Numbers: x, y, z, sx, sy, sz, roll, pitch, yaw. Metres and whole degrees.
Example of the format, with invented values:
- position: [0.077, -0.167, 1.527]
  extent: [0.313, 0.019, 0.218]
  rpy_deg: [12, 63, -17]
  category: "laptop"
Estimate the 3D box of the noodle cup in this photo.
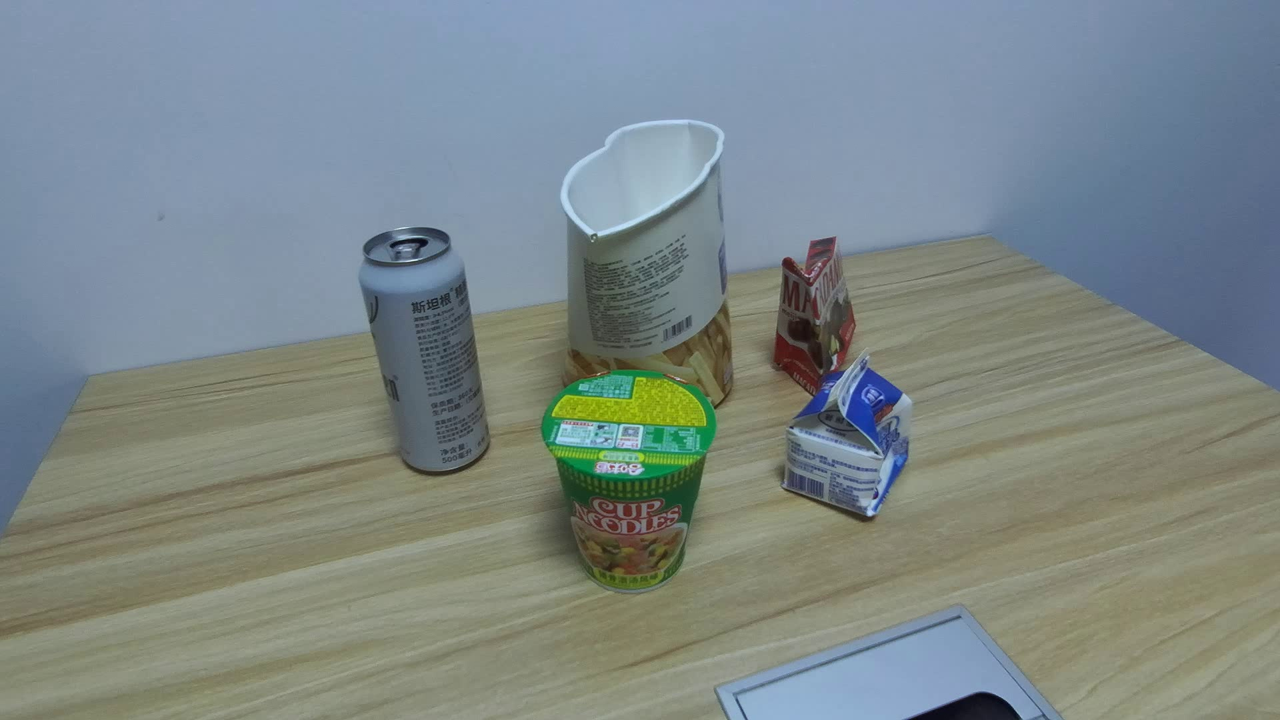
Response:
- position: [-0.004, 0.078, 0.422]
  extent: [0.097, 0.110, 0.097]
  rpy_deg: [-1, 34, 1]
  category: "noodle cup"

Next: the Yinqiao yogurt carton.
- position: [0.142, 0.045, 0.488]
  extent: [0.070, 0.094, 0.077]
  rpy_deg: [14, 36, 32]
  category: "Yinqiao yogurt carton"

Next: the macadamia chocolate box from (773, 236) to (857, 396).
- position: [0.155, -0.047, 0.610]
  extent: [0.056, 0.112, 0.127]
  rpy_deg: [14, 36, 23]
  category: "macadamia chocolate box"

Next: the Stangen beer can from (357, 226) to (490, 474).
- position: [-0.148, -0.003, 0.496]
  extent: [0.067, 0.171, 0.067]
  rpy_deg: [0, 32, 1]
  category: "Stangen beer can"

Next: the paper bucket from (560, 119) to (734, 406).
- position: [0.007, -0.066, 0.558]
  extent: [0.148, 0.199, 0.217]
  rpy_deg: [-8, 33, -12]
  category: "paper bucket"
